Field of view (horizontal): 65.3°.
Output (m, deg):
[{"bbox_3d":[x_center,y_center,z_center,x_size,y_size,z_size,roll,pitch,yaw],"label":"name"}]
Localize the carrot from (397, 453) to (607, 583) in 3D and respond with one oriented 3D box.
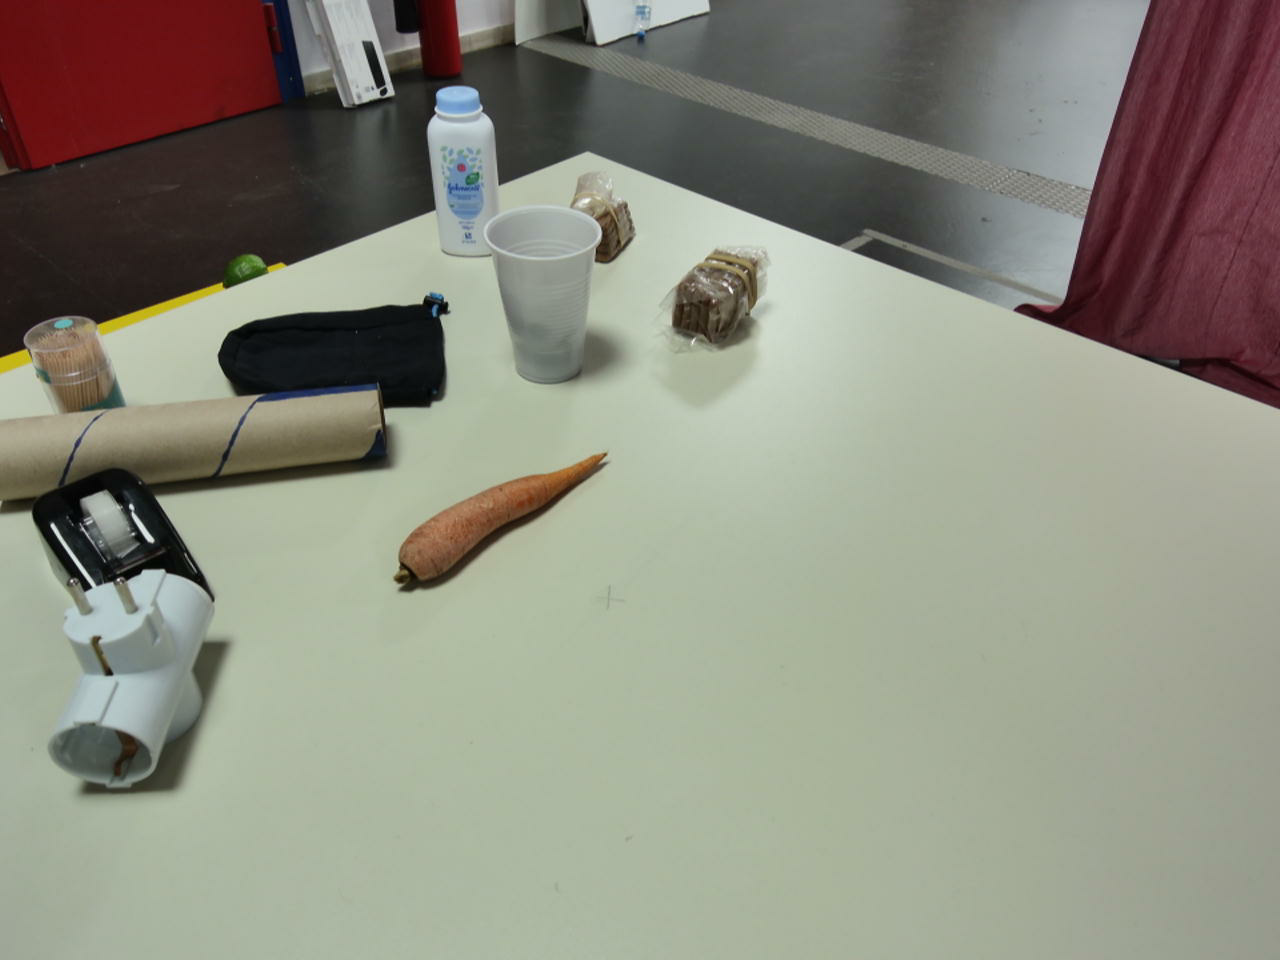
[{"bbox_3d":[-0.080,0.014,0.601,0.031,0.029,0.163,29,46,31],"label":"carrot"}]
